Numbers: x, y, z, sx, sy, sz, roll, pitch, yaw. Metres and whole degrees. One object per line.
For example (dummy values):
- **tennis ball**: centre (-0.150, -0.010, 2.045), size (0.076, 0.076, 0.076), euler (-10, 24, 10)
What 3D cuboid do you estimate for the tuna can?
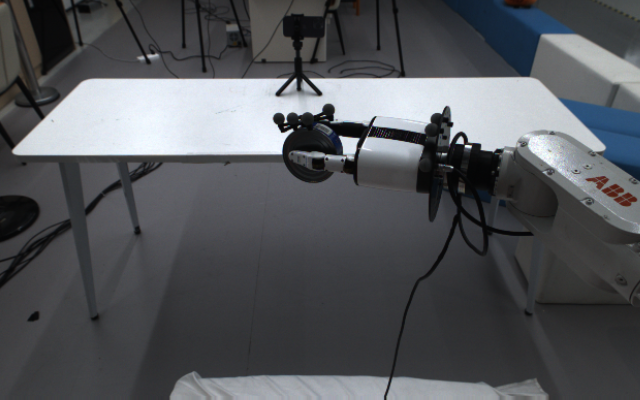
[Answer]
- **tuna can**: centre (-0.008, -0.066, 0.714), size (0.085, 0.085, 0.034), euler (13, 28, 15)
